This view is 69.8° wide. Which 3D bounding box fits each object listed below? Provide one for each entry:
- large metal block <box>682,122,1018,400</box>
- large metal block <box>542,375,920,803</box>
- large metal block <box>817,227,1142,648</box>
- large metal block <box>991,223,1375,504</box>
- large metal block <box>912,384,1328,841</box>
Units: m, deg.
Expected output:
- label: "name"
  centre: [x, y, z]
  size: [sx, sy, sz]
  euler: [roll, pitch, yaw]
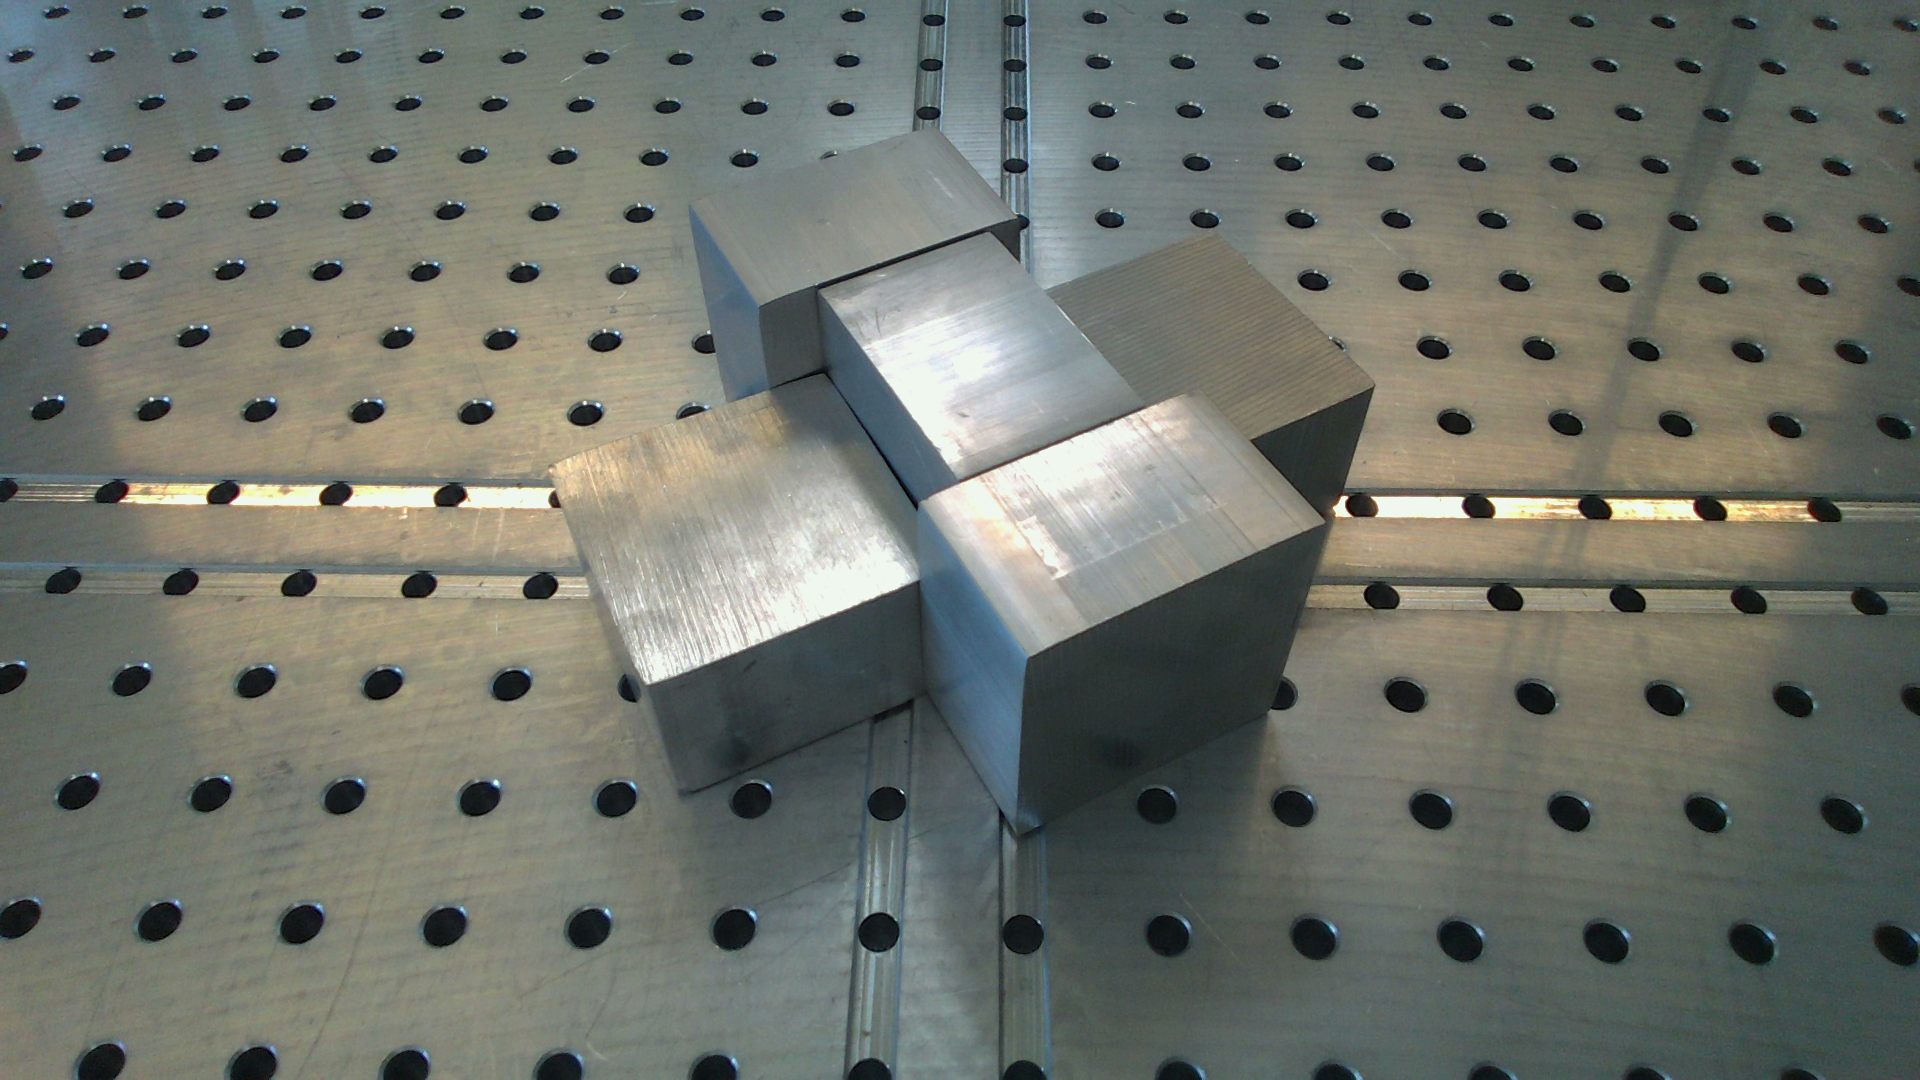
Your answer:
- label: "large metal block"
  centre: [-0.031, -0.068, 0.415]
  size: [0.080, 0.080, 0.050]
  euler: [-22, 53, -18]
- label: "large metal block"
  centre: [-0.056, 0.011, 0.370]
  size: [0.080, 0.050, 0.080]
  euler: [-21, 52, -17]
- label: "large metal block"
  centre: [0.003, -0.024, 0.379]
  size: [0.050, 0.080, 0.080]
  euler: [-23, 53, -18]
- label: "large metal block"
  centre: [0.061, -0.040, 0.411]
  size: [0.080, 0.050, 0.080]
  euler: [-23, 56, -18]
- label: "large metal block"
  centre: [0.036, 0.019, 0.343]
  size: [0.080, 0.080, 0.050]
  euler: [-22, 53, -19]
